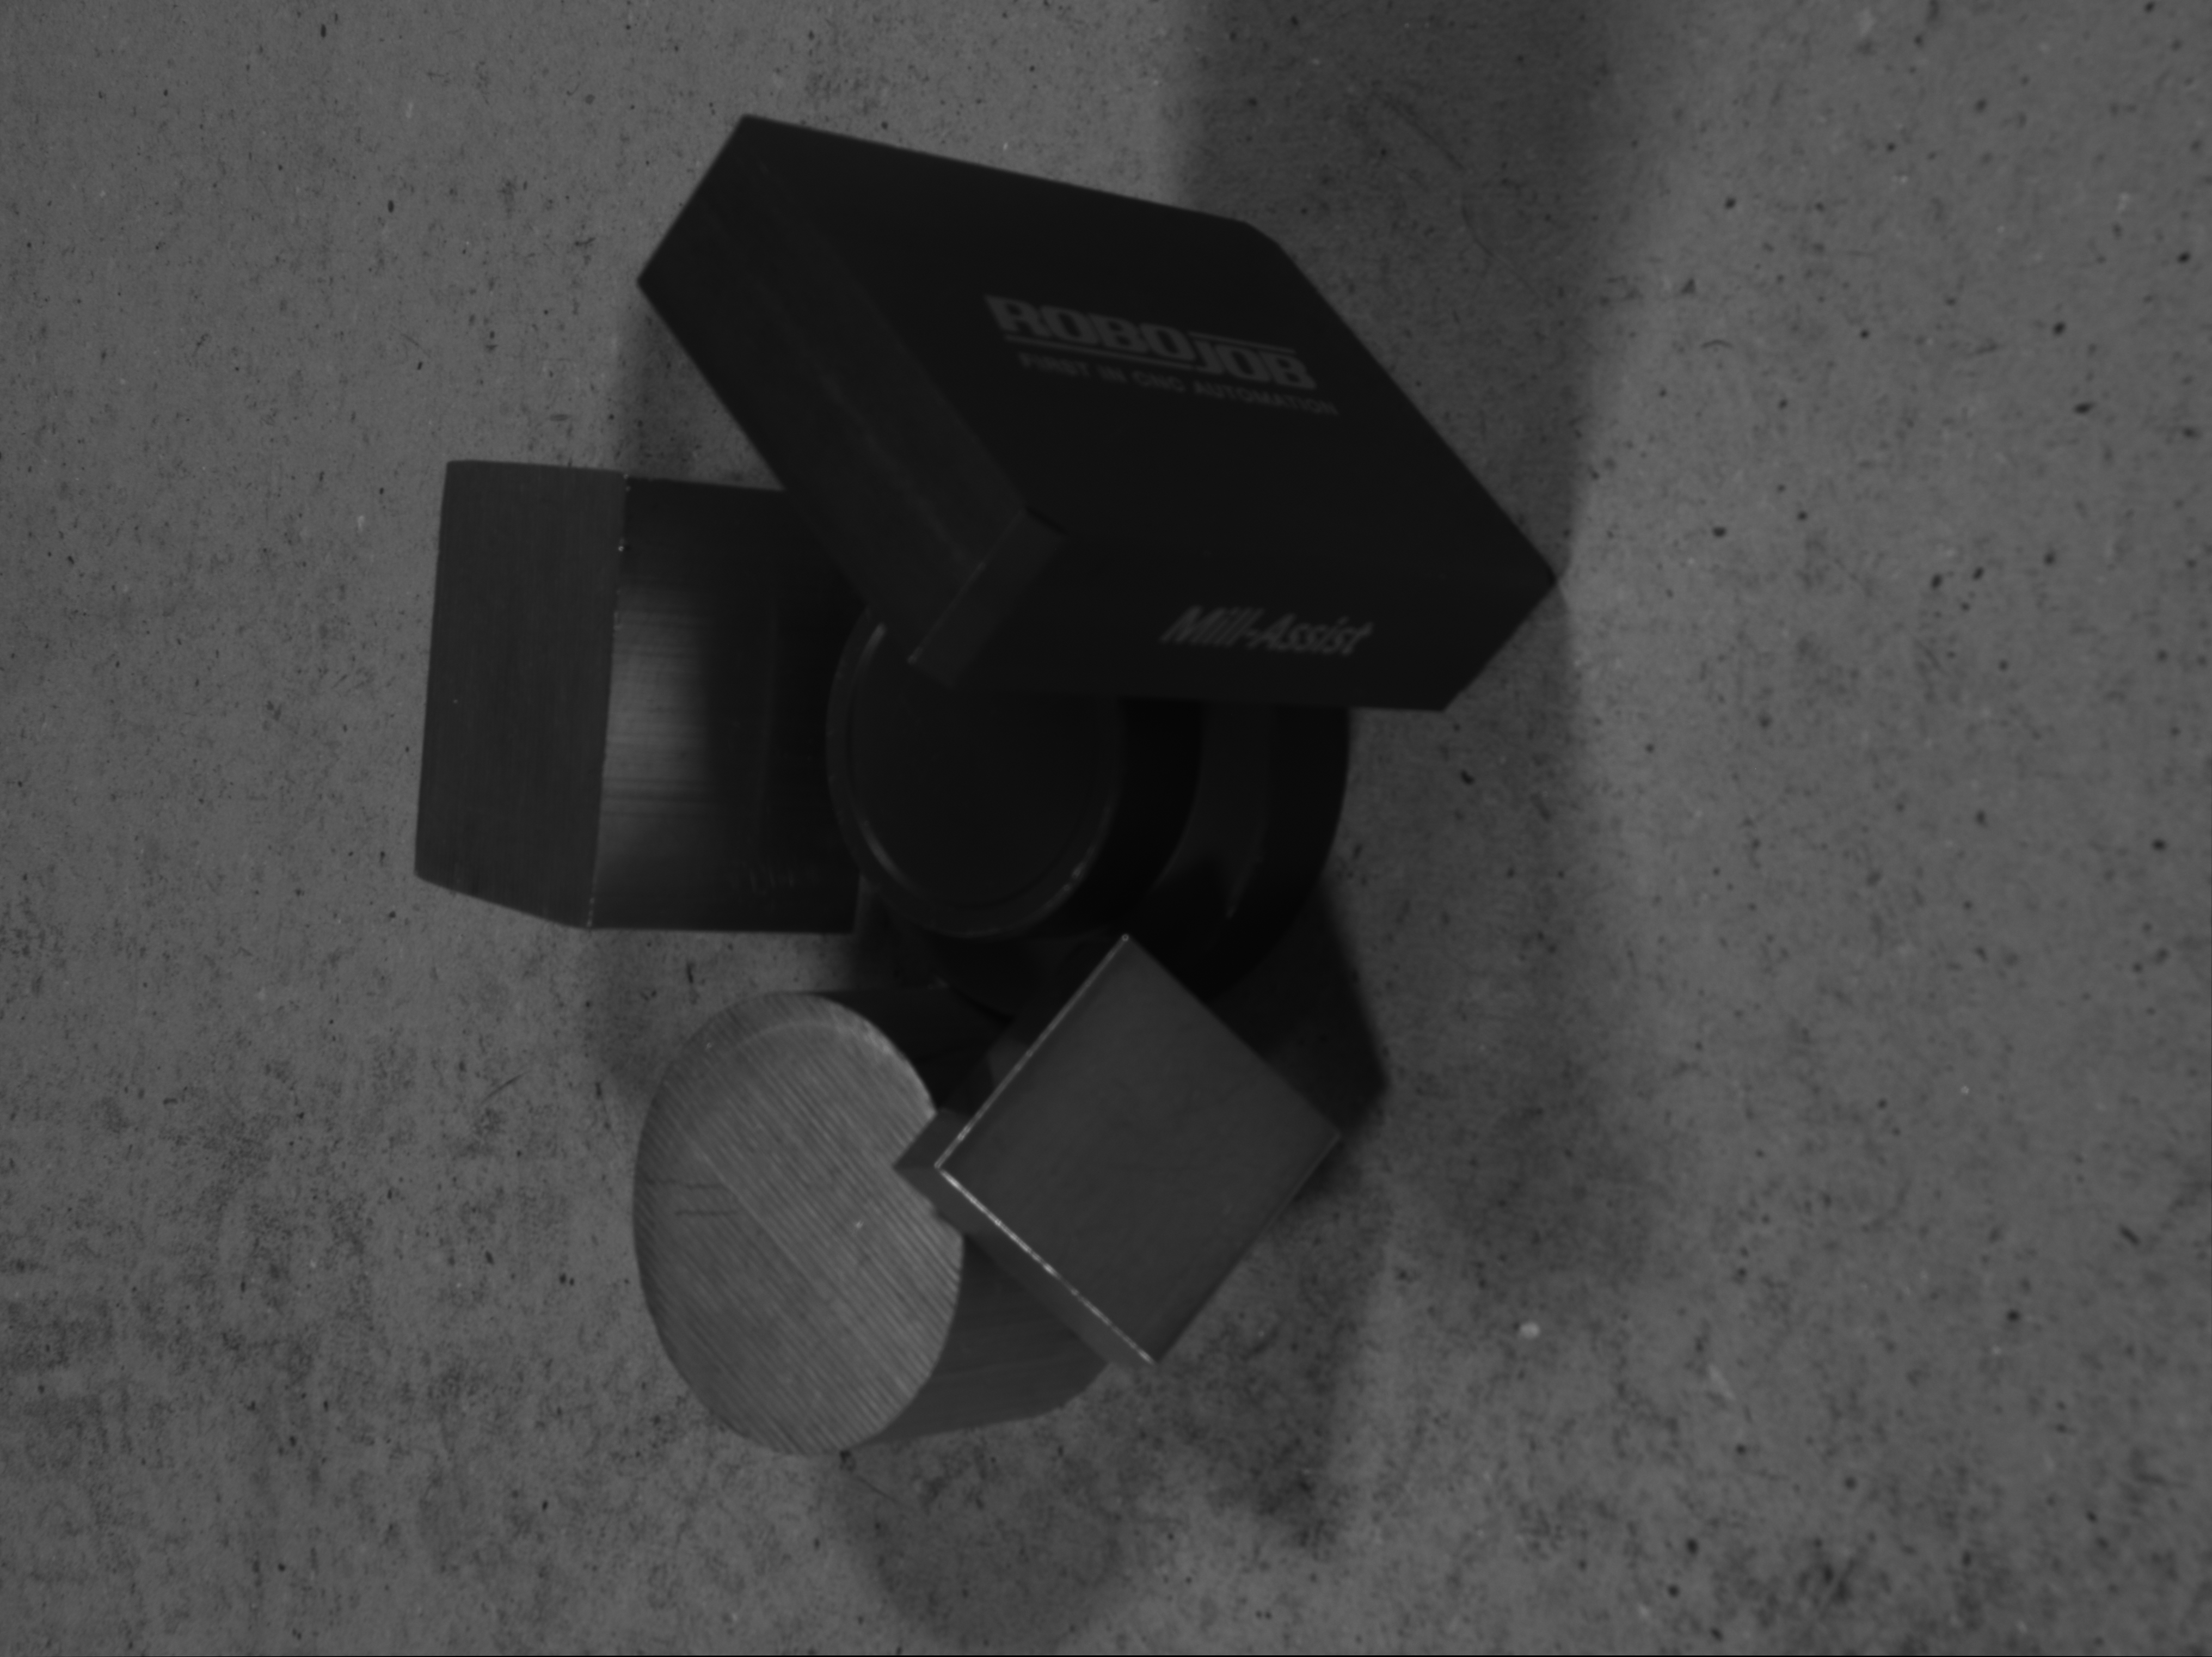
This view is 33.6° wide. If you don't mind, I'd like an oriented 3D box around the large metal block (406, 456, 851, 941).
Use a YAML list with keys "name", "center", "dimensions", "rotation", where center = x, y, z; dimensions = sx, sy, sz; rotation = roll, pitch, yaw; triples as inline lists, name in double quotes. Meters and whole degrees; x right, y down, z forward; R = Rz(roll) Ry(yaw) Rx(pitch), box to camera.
- name: "large metal block"
  center: [-0.087, -0.025, 0.676]
  dimensions: [0.080, 0.050, 0.080]
  rotation: [12, 98, 56]

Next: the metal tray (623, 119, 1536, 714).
- name: "metal tray"
  center: [-0.001, -0.061, 0.568]
  dimensions: [0.030, 0.130, 0.090]
  rotation: [-51, 60, 27]

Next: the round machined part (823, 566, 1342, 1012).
- name: "round machined part"
  center: [-0.011, -0.015, 0.635]
  dimensions: [0.098, 0.042, 0.098]
  rotation: [0, 90, 39]

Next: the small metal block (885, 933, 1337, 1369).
- name: "small metal block"
  center: [0.001, 0.053, 0.605]
  dimensions: [0.050, 0.050, 0.025]
  rotation: [43, 162, -11]

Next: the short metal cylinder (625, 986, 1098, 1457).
- name: "short metal cylinder"
  center: [-0.040, 0.069, 0.653]
  dimensions: [0.080, 0.050, 0.080]
  rotation: [0, 90, 39]
